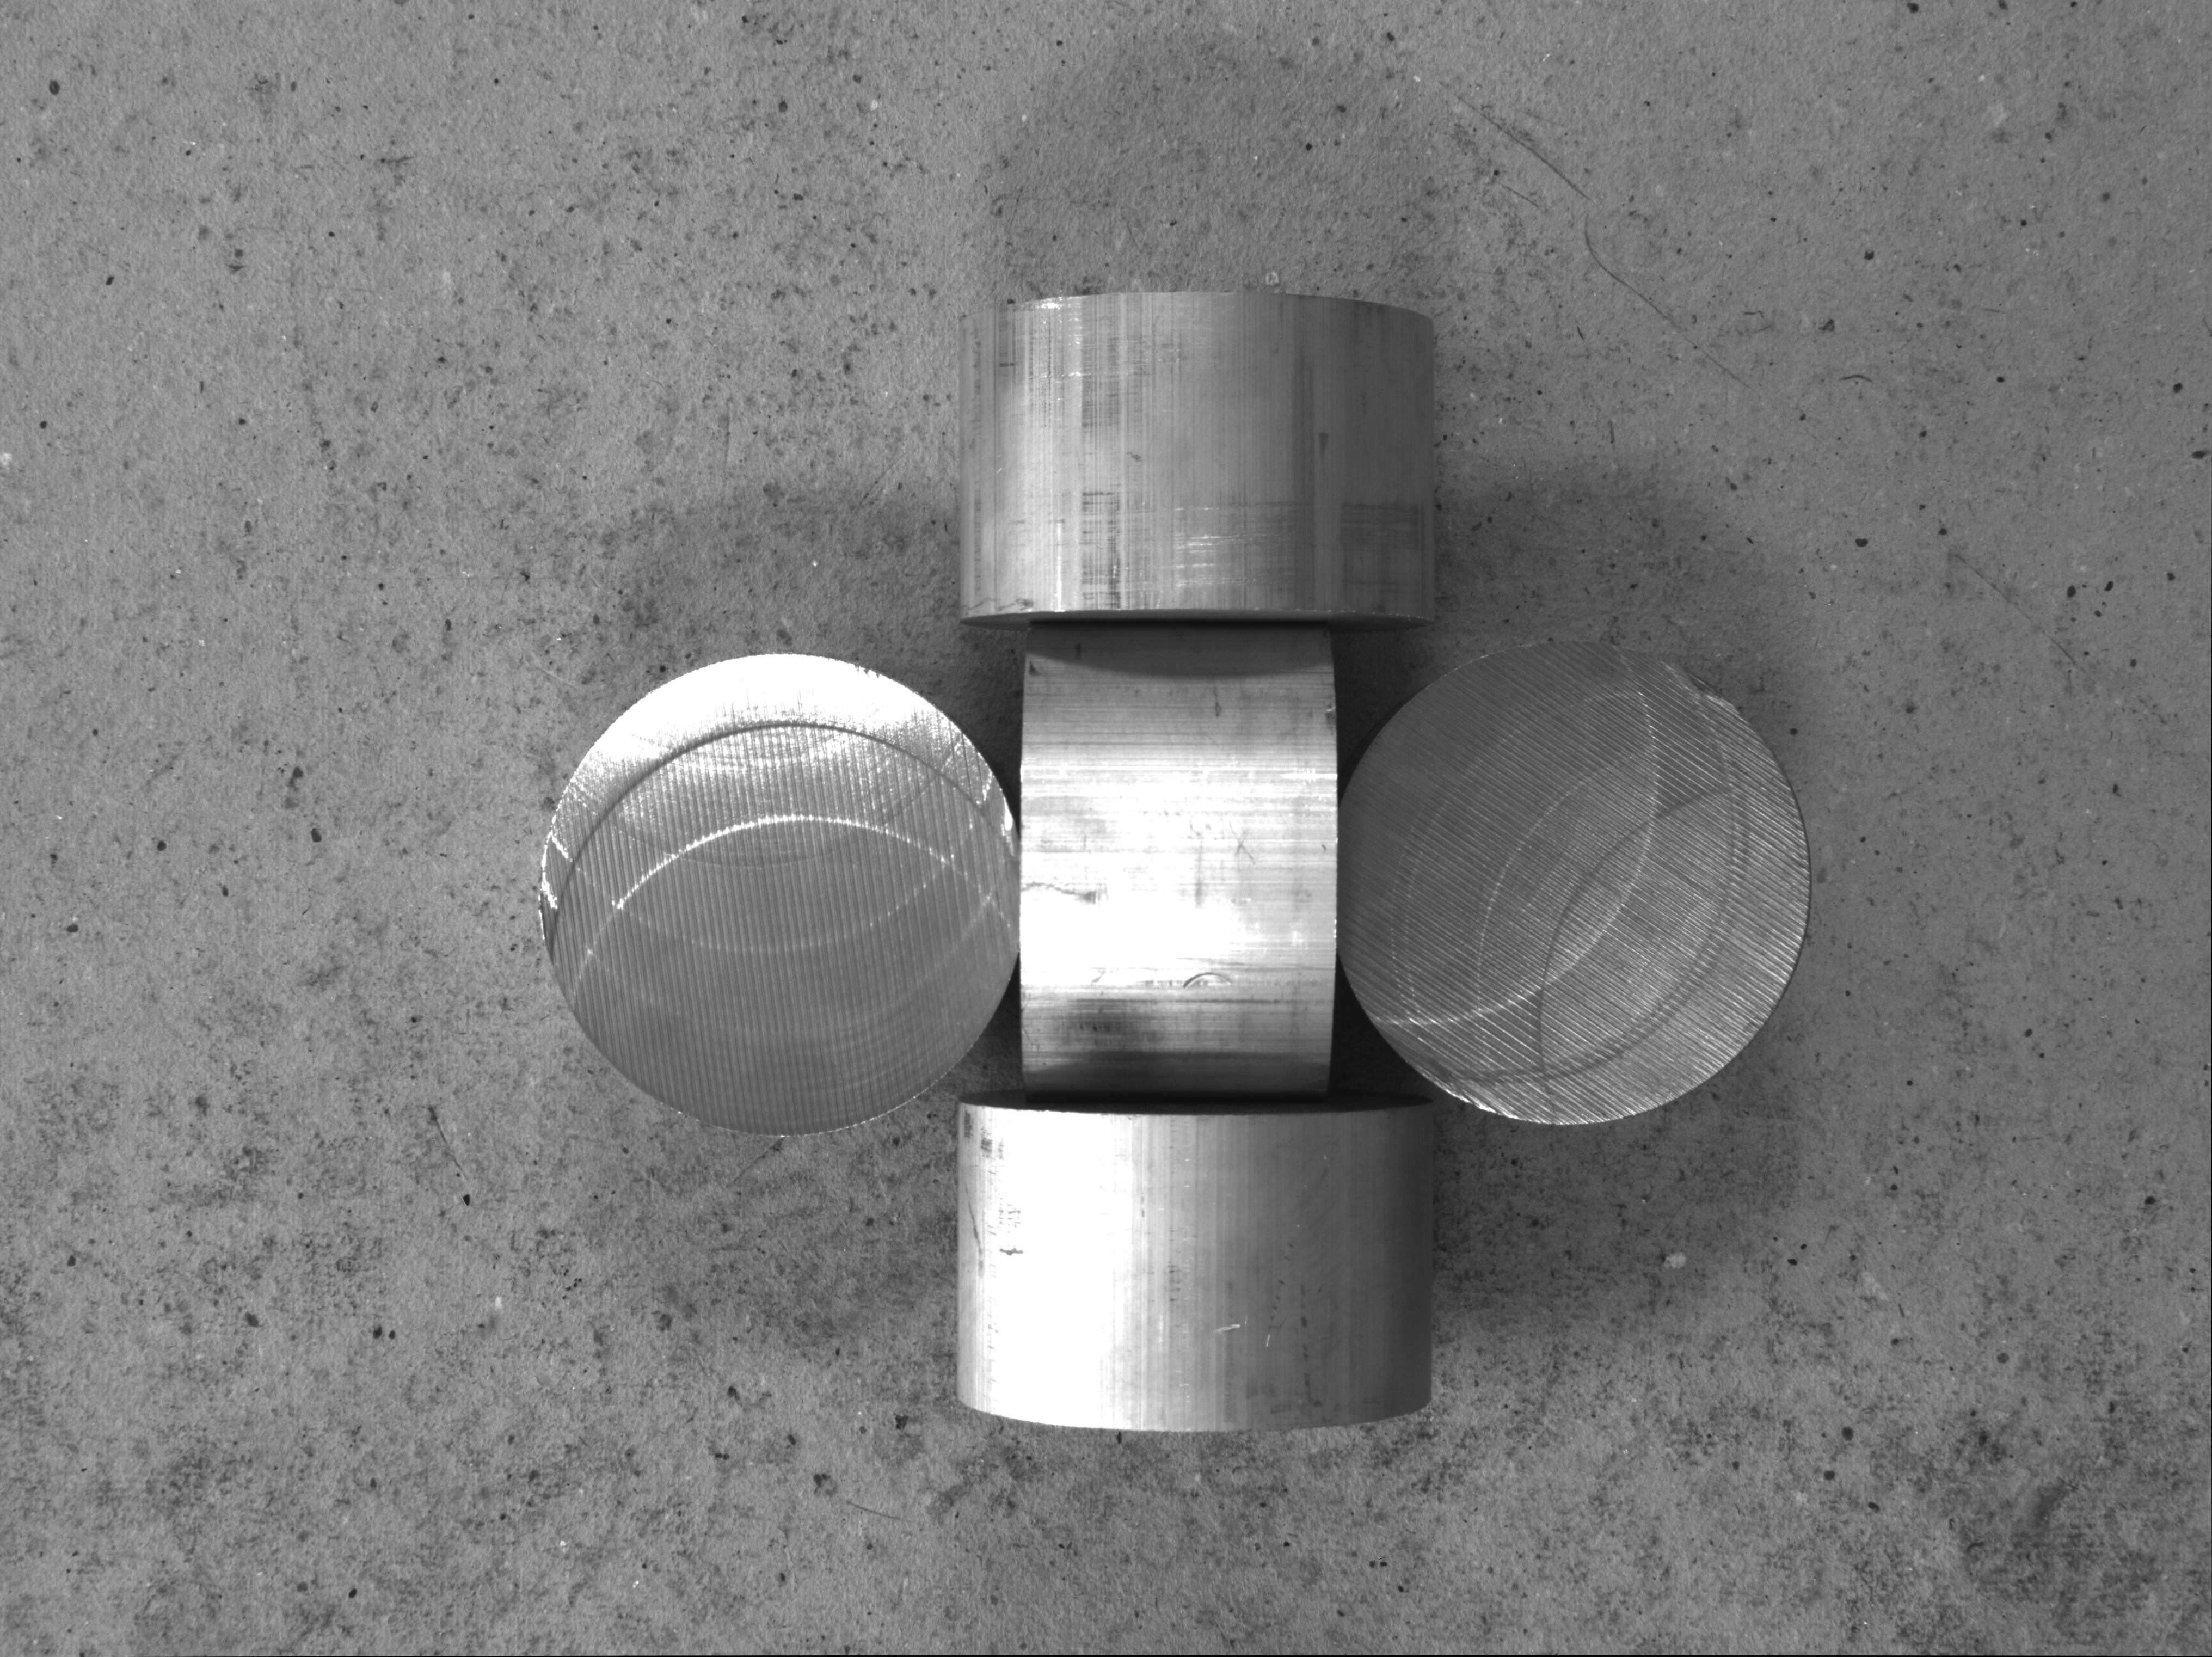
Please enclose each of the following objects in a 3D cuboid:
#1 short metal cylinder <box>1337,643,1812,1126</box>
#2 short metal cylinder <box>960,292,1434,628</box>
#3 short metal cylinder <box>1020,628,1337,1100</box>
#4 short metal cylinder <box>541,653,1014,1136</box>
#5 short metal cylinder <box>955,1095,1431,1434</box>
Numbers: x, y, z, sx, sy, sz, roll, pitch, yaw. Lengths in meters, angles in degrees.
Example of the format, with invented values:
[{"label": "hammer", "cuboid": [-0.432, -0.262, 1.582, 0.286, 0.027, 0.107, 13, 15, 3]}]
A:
[{"label": "short metal cylinder", "cuboid": [0.077, 0.009, 0.632, 0.080, 0.050, 0.080, 0, 90, 0]}, {"label": "short metal cylinder", "cuboid": [0.015, -0.060, 0.618, 0.080, 0.080, 0.050, 0, 90, 0]}, {"label": "short metal cylinder", "cuboid": [0.012, 0.006, 0.618, 0.050, 0.080, 0.080, 0, 90, 0]}, {"label": "short metal cylinder", "cuboid": [-0.054, 0.011, 0.633, 0.080, 0.050, 0.080, 0, 90, -1]}, {"label": "short metal cylinder", "cuboid": [0.015, 0.071, 0.618, 0.080, 0.080, 0.050, 0, 89, 0]}]
